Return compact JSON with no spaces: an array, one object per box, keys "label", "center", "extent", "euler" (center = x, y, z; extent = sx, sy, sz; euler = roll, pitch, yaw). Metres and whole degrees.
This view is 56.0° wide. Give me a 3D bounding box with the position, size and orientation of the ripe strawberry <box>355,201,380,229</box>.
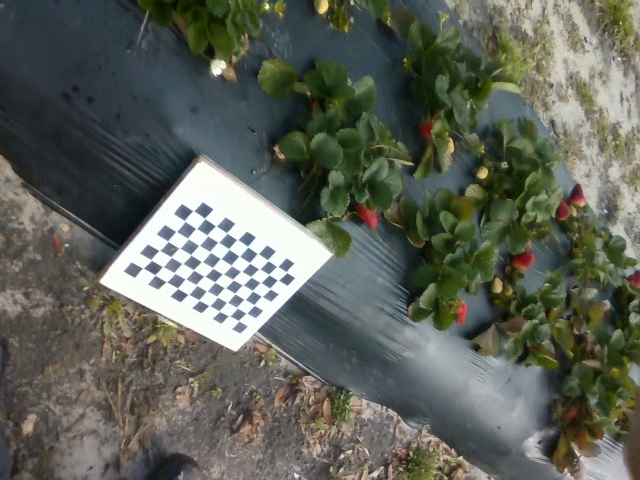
[{"label":"ripe strawberry","center":[0.092,-0.047,1.078],"extent":[0.050,0.064,0.043],"euler":[-20,34,-7]}]
